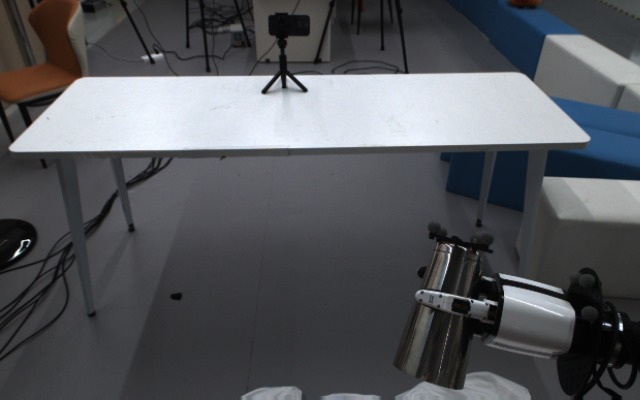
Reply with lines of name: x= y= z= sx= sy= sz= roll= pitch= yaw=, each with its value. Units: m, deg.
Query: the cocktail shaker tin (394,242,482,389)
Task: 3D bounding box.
cocktail shaker tin: x=0.162 y=0.145 z=0.636 sx=0.093 sy=0.170 sz=0.093 roll=17 pitch=-7 yaw=2
